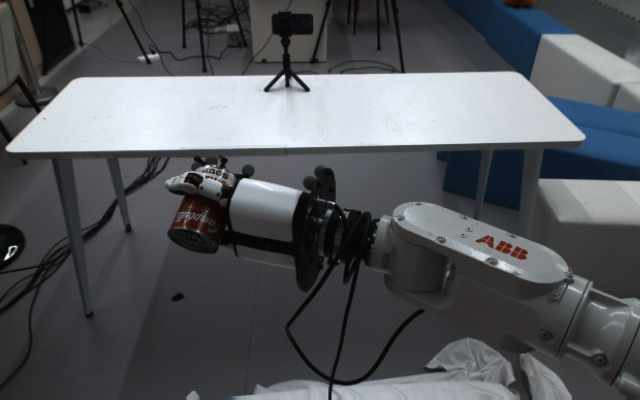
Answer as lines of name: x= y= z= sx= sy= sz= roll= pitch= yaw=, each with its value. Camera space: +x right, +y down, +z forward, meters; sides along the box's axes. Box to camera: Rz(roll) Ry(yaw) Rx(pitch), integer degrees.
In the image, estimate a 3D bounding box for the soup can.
soup can: x=-0.151 y=0.012 z=0.643 sx=0.067 sy=0.067 sz=0.101 roll=9 pitch=58 yaw=10
